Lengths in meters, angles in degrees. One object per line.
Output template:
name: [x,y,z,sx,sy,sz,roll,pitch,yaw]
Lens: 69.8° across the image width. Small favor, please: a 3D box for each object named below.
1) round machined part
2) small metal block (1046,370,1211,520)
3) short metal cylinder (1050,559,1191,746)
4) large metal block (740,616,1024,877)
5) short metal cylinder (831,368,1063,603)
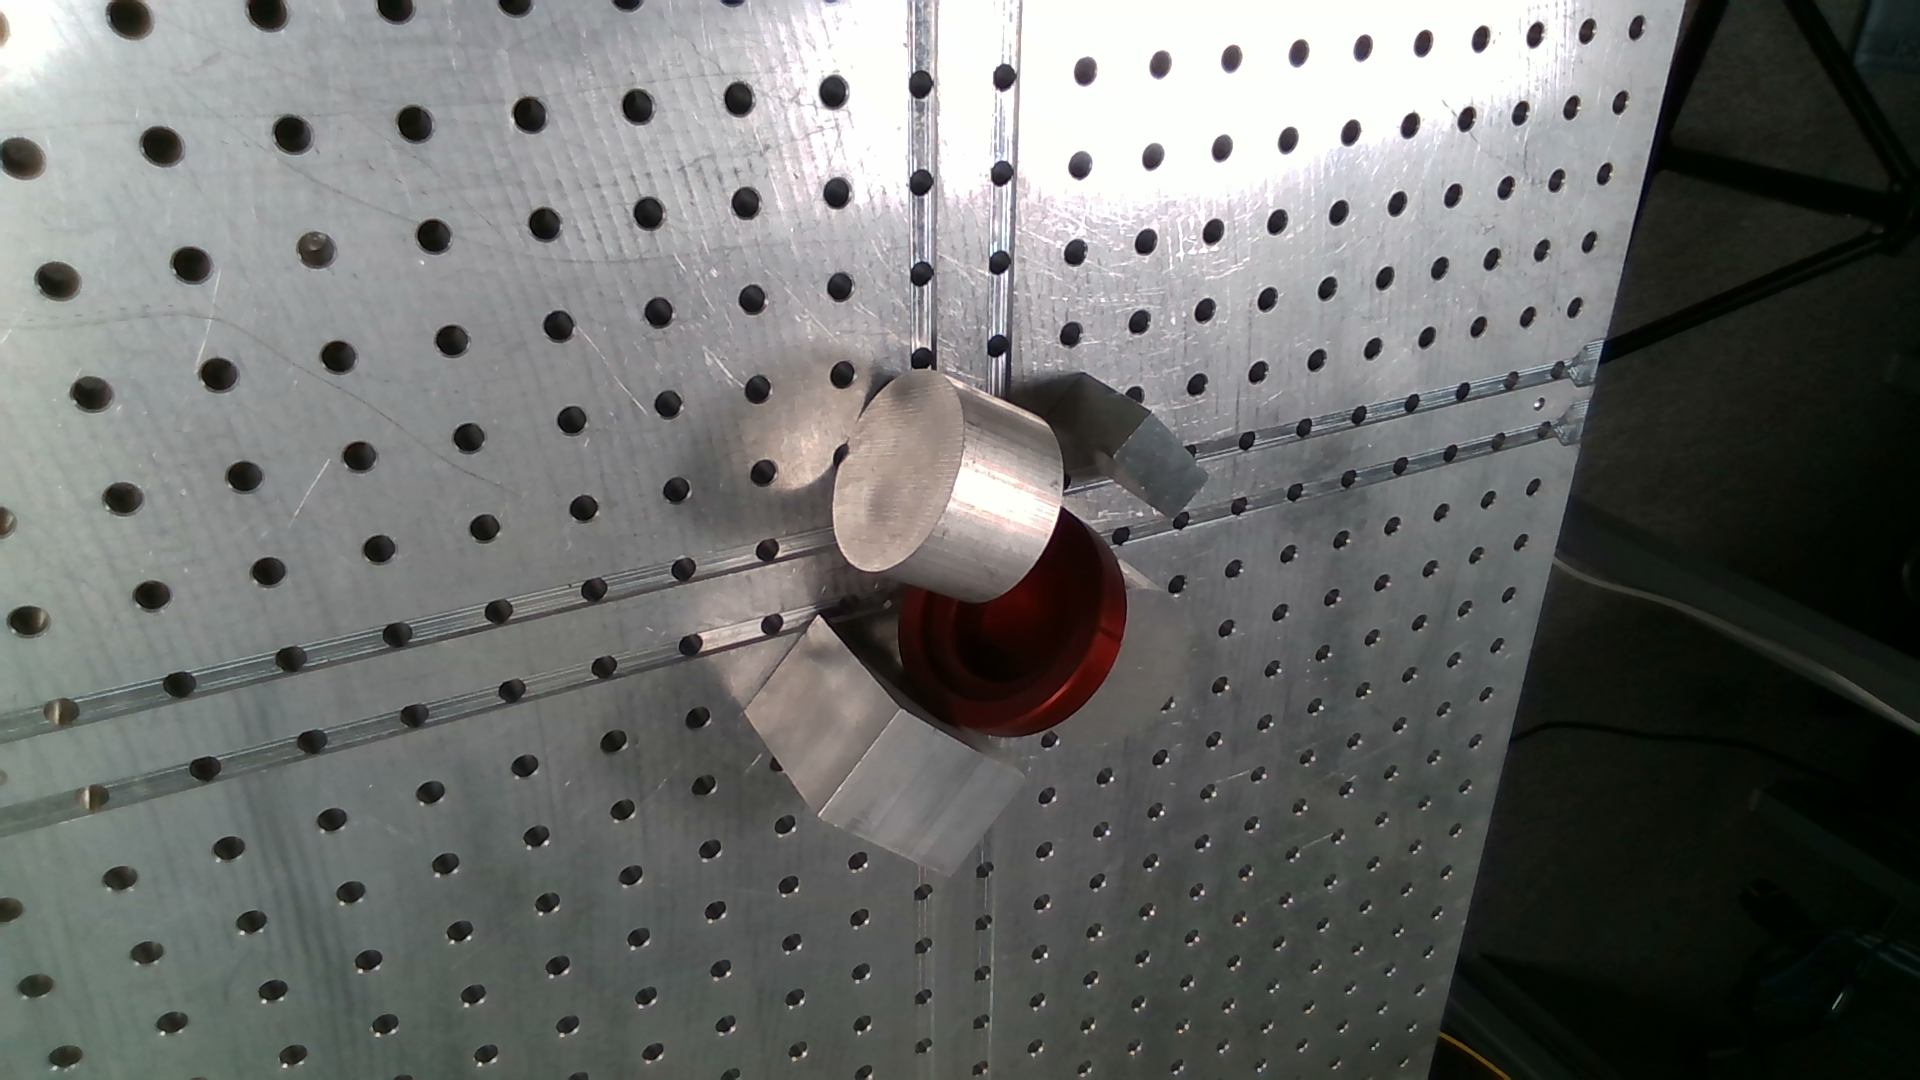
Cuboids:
round machined part: [0.026,0.034,0.571,0.098,0.098,0.042,-55,141,5]
small metal block: [0.072,-0.041,0.589,0.025,0.050,0.050,-49,129,0]
short metal cylinder: [0.058,0.046,0.627,0.080,0.050,0.080,-14,122,-25]
large metal block: [-0.033,0.086,0.575,0.080,0.080,0.050,34,94,-39]
short metal cylinder: [-0.006,-0.020,0.533,0.050,0.080,0.080,19,104,-37]
